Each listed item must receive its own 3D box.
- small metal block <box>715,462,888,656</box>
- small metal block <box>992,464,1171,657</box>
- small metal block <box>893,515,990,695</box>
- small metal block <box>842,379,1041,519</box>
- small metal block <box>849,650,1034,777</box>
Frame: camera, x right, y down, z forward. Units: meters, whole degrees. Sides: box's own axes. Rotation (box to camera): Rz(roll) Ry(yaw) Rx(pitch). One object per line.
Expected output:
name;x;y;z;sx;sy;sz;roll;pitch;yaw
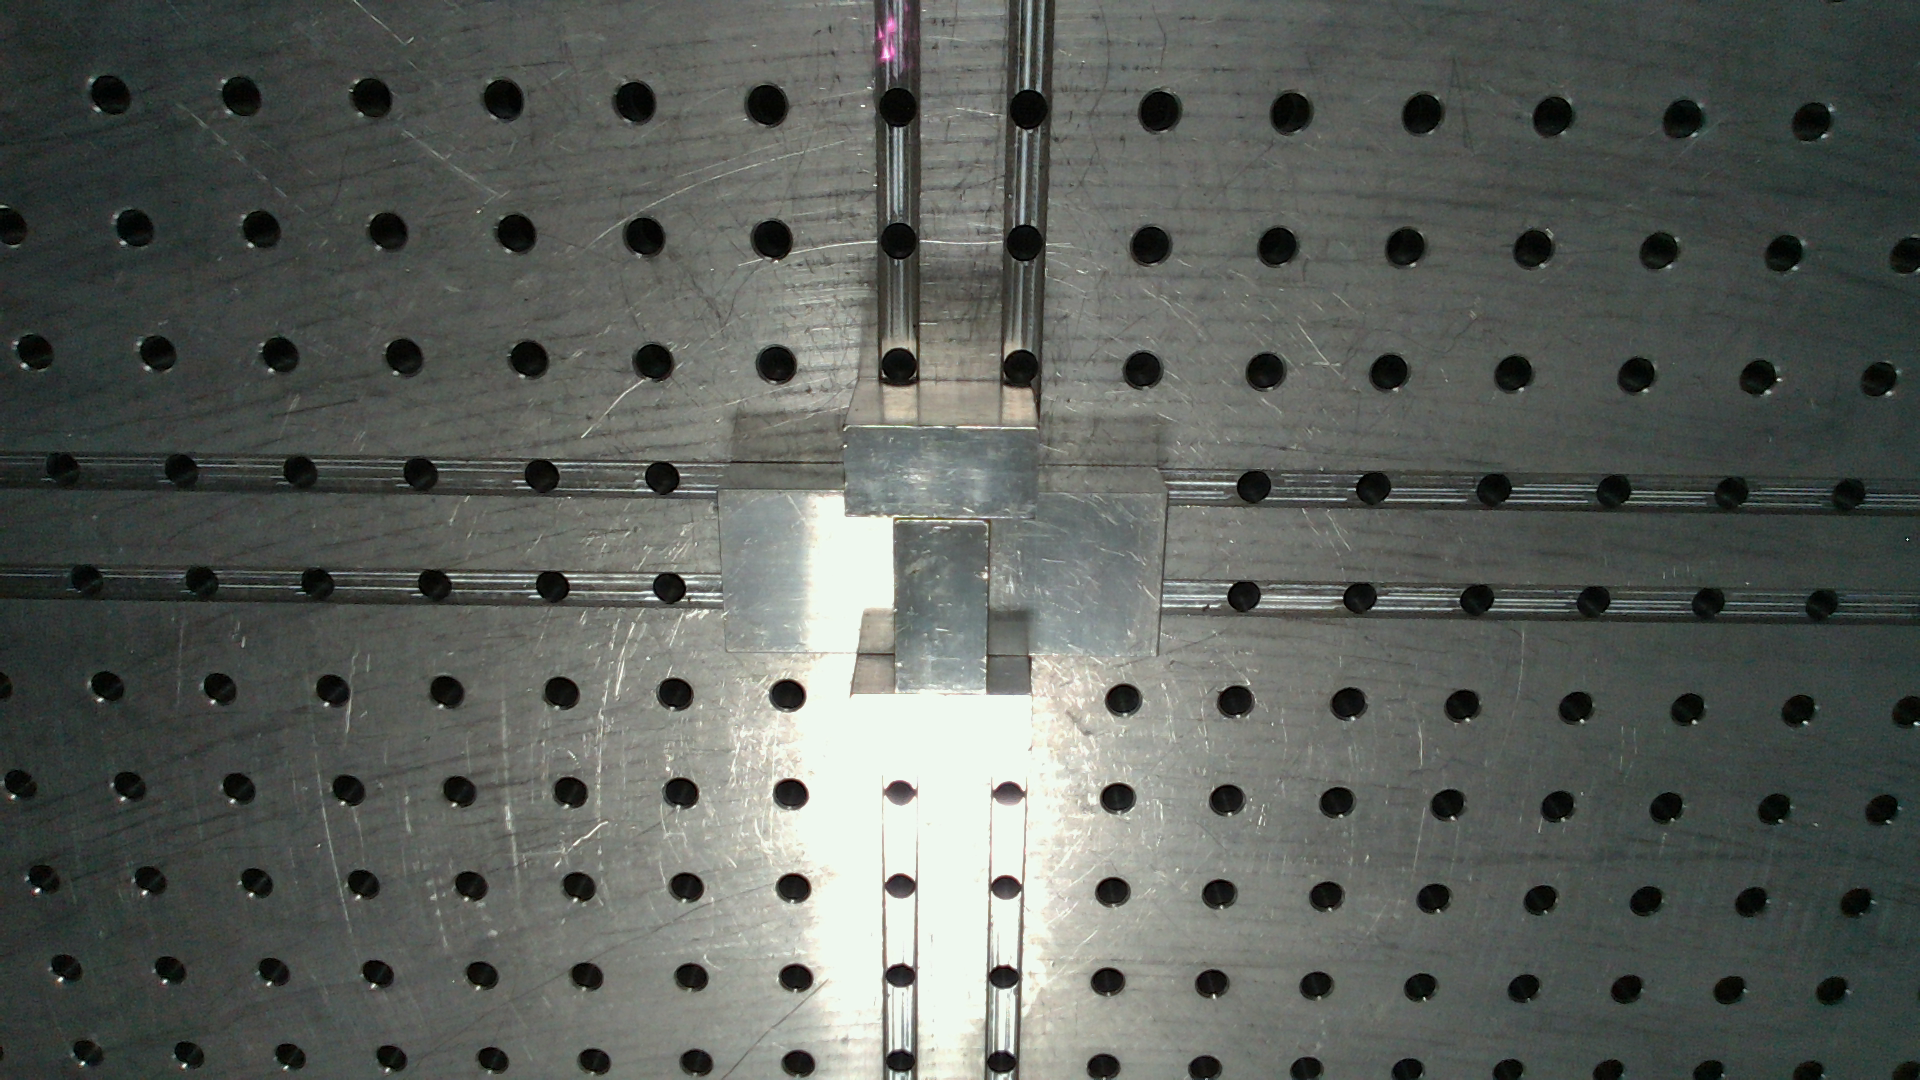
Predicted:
small metal block;-0.042;0.005;0.398;0.050;0.025;0.050;0;110;0
small metal block;0.033;0.006;0.398;0.050;0.025;0.050;1;110;-1
small metal block;-0.005;0.010;0.386;0.025;0.050;0.050;1;110;0
small metal block;-0.005;-0.026;0.373;0.050;0.050;0.025;1;110;0
small metal block;-0.005;0.045;0.399;0.050;0.050;0.025;1;110;0
